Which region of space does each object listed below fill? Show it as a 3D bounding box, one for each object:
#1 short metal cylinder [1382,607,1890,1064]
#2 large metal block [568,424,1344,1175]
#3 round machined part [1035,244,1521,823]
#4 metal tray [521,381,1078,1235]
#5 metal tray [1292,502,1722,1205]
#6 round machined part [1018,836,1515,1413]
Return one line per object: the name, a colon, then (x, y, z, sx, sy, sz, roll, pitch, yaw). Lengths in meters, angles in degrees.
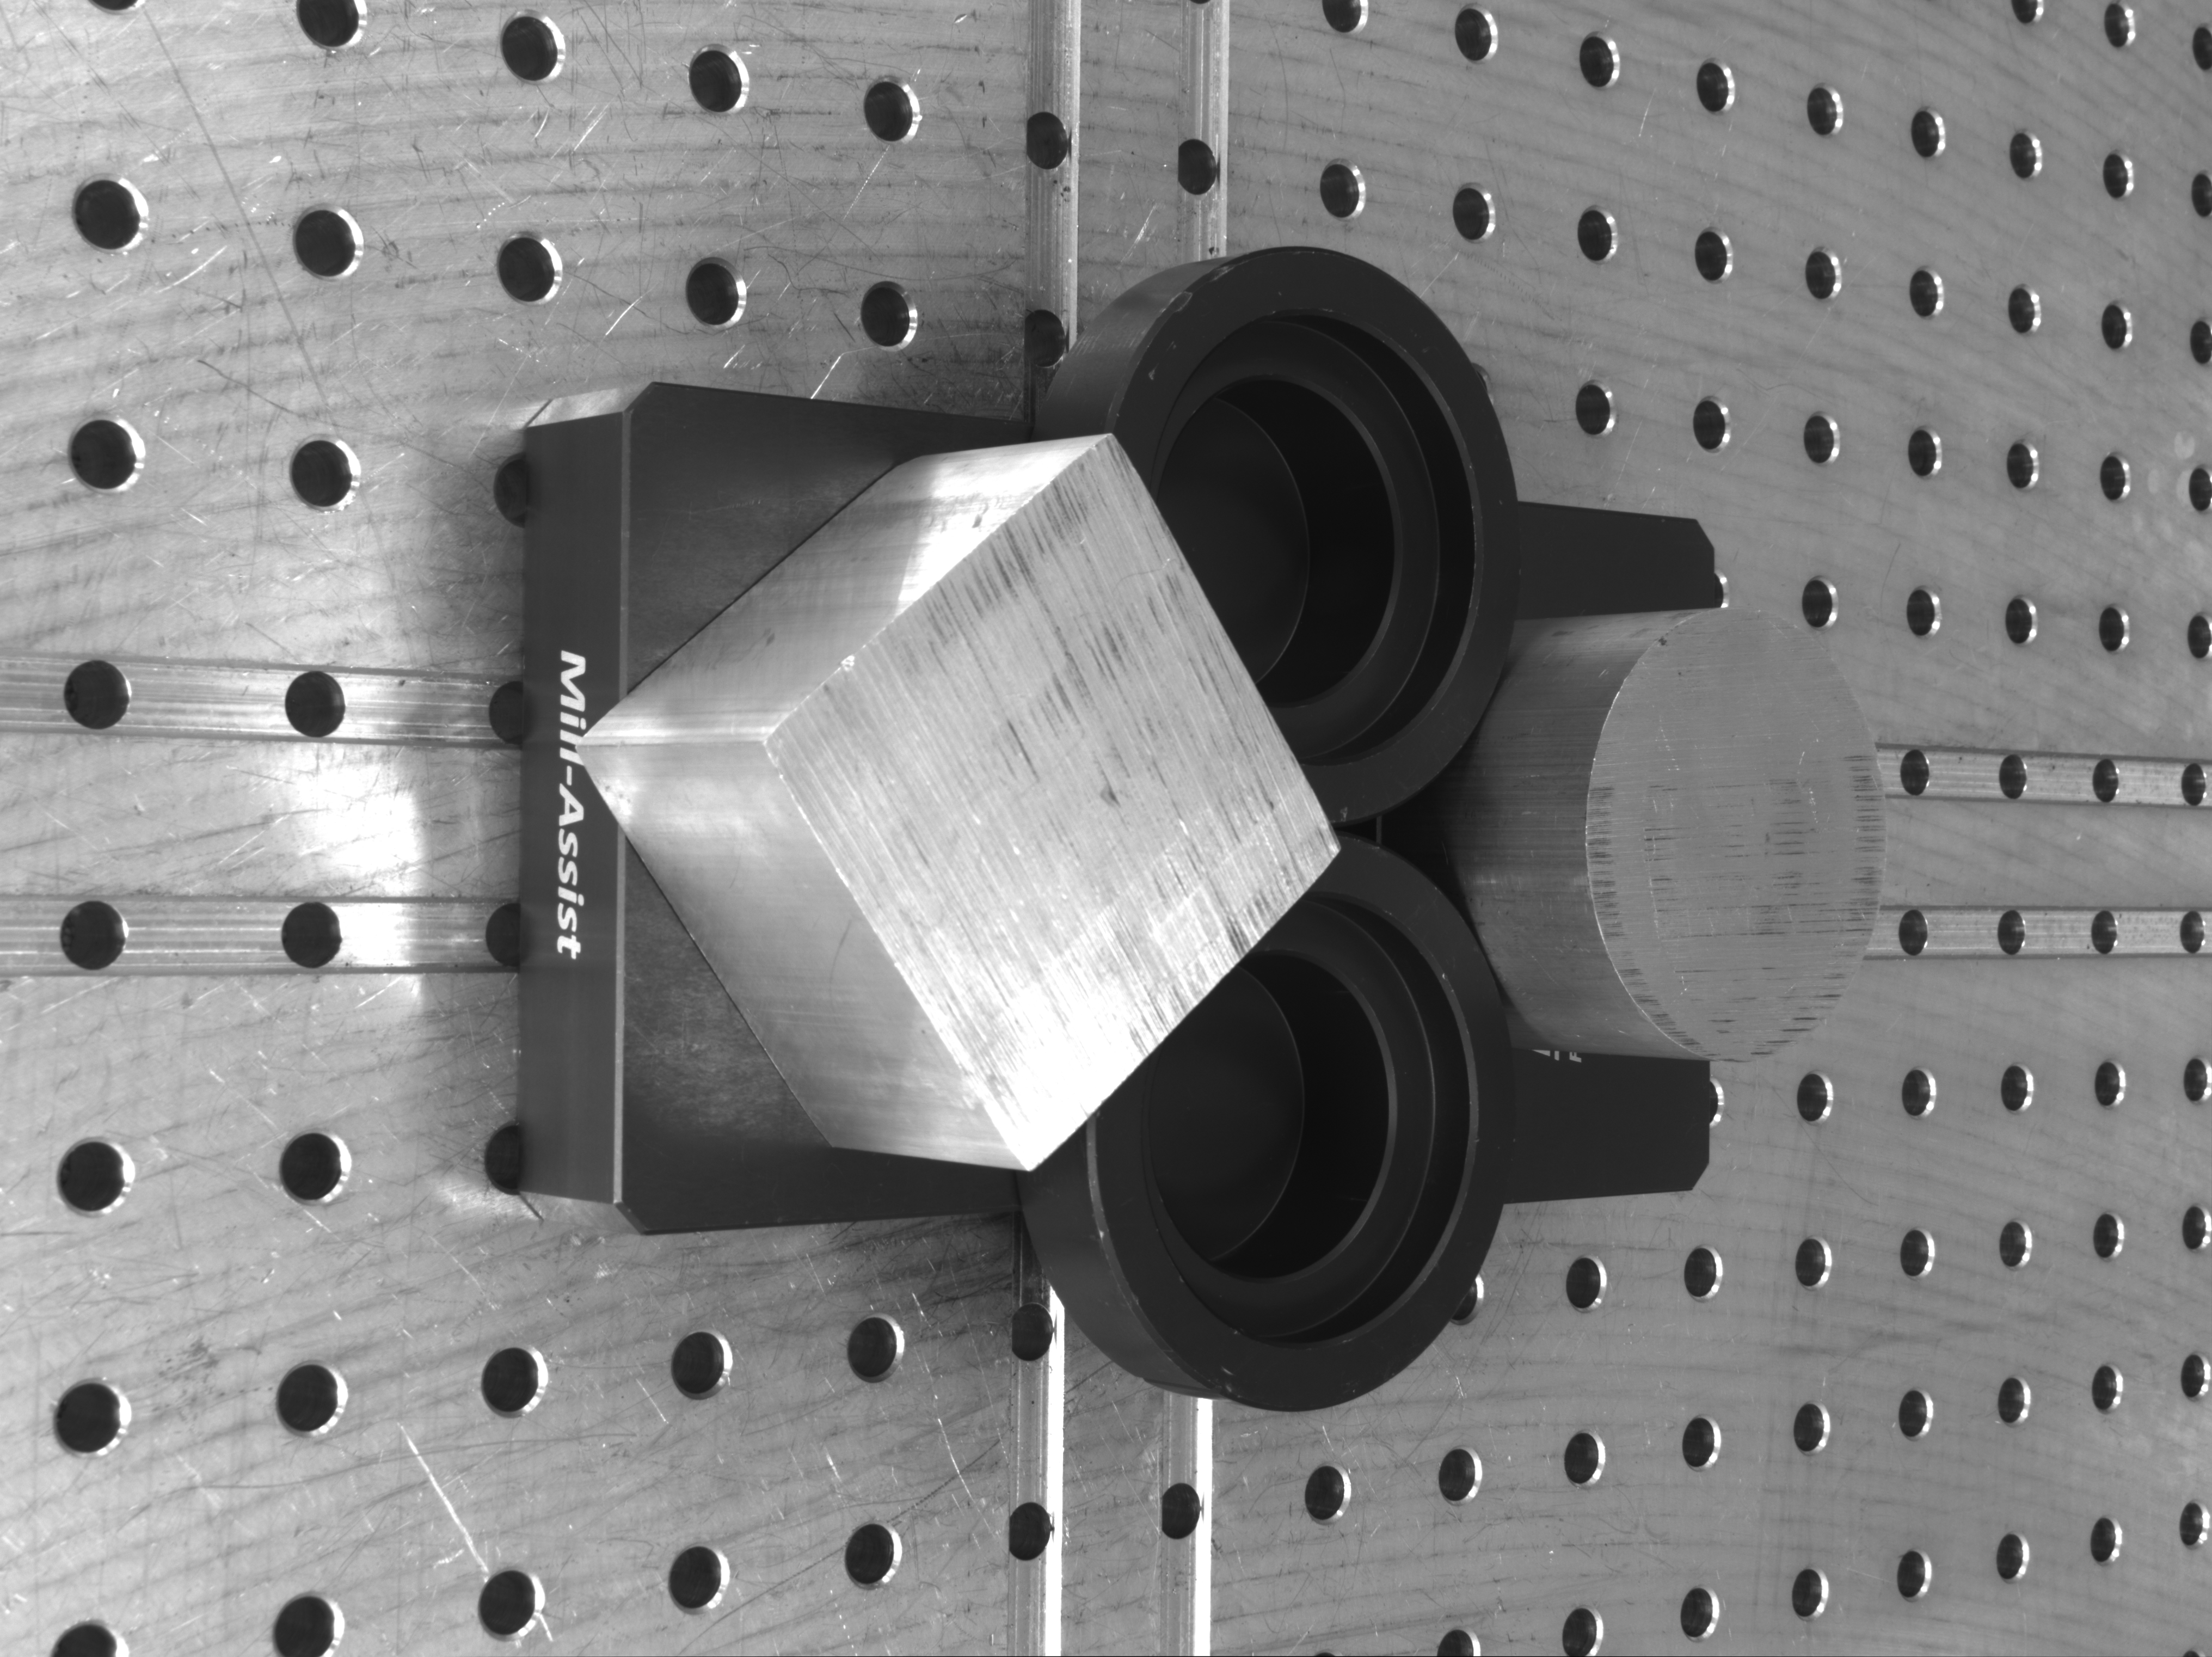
short metal cylinder: (0.096, 0.001, 0.663, 0.080, 0.050, 0.080, 0, 90, -40)
large metal block: (-0.021, -0.005, 0.567, 0.080, 0.050, 0.080, -44, 116, -31)
round machined part: (0.023, -0.049, 0.636, 0.098, 0.042, 0.098, 0, 90, -40)
metal tray: (-0.048, -0.003, 0.596, 0.090, 0.030, 0.130, 1, 89, -41)
metal tray: (0.075, 0.005, 0.696, 0.090, 0.030, 0.130, 1, 89, -40)
round machined part: (0.022, 0.049, 0.635, 0.098, 0.042, 0.098, 0, 90, -40)
